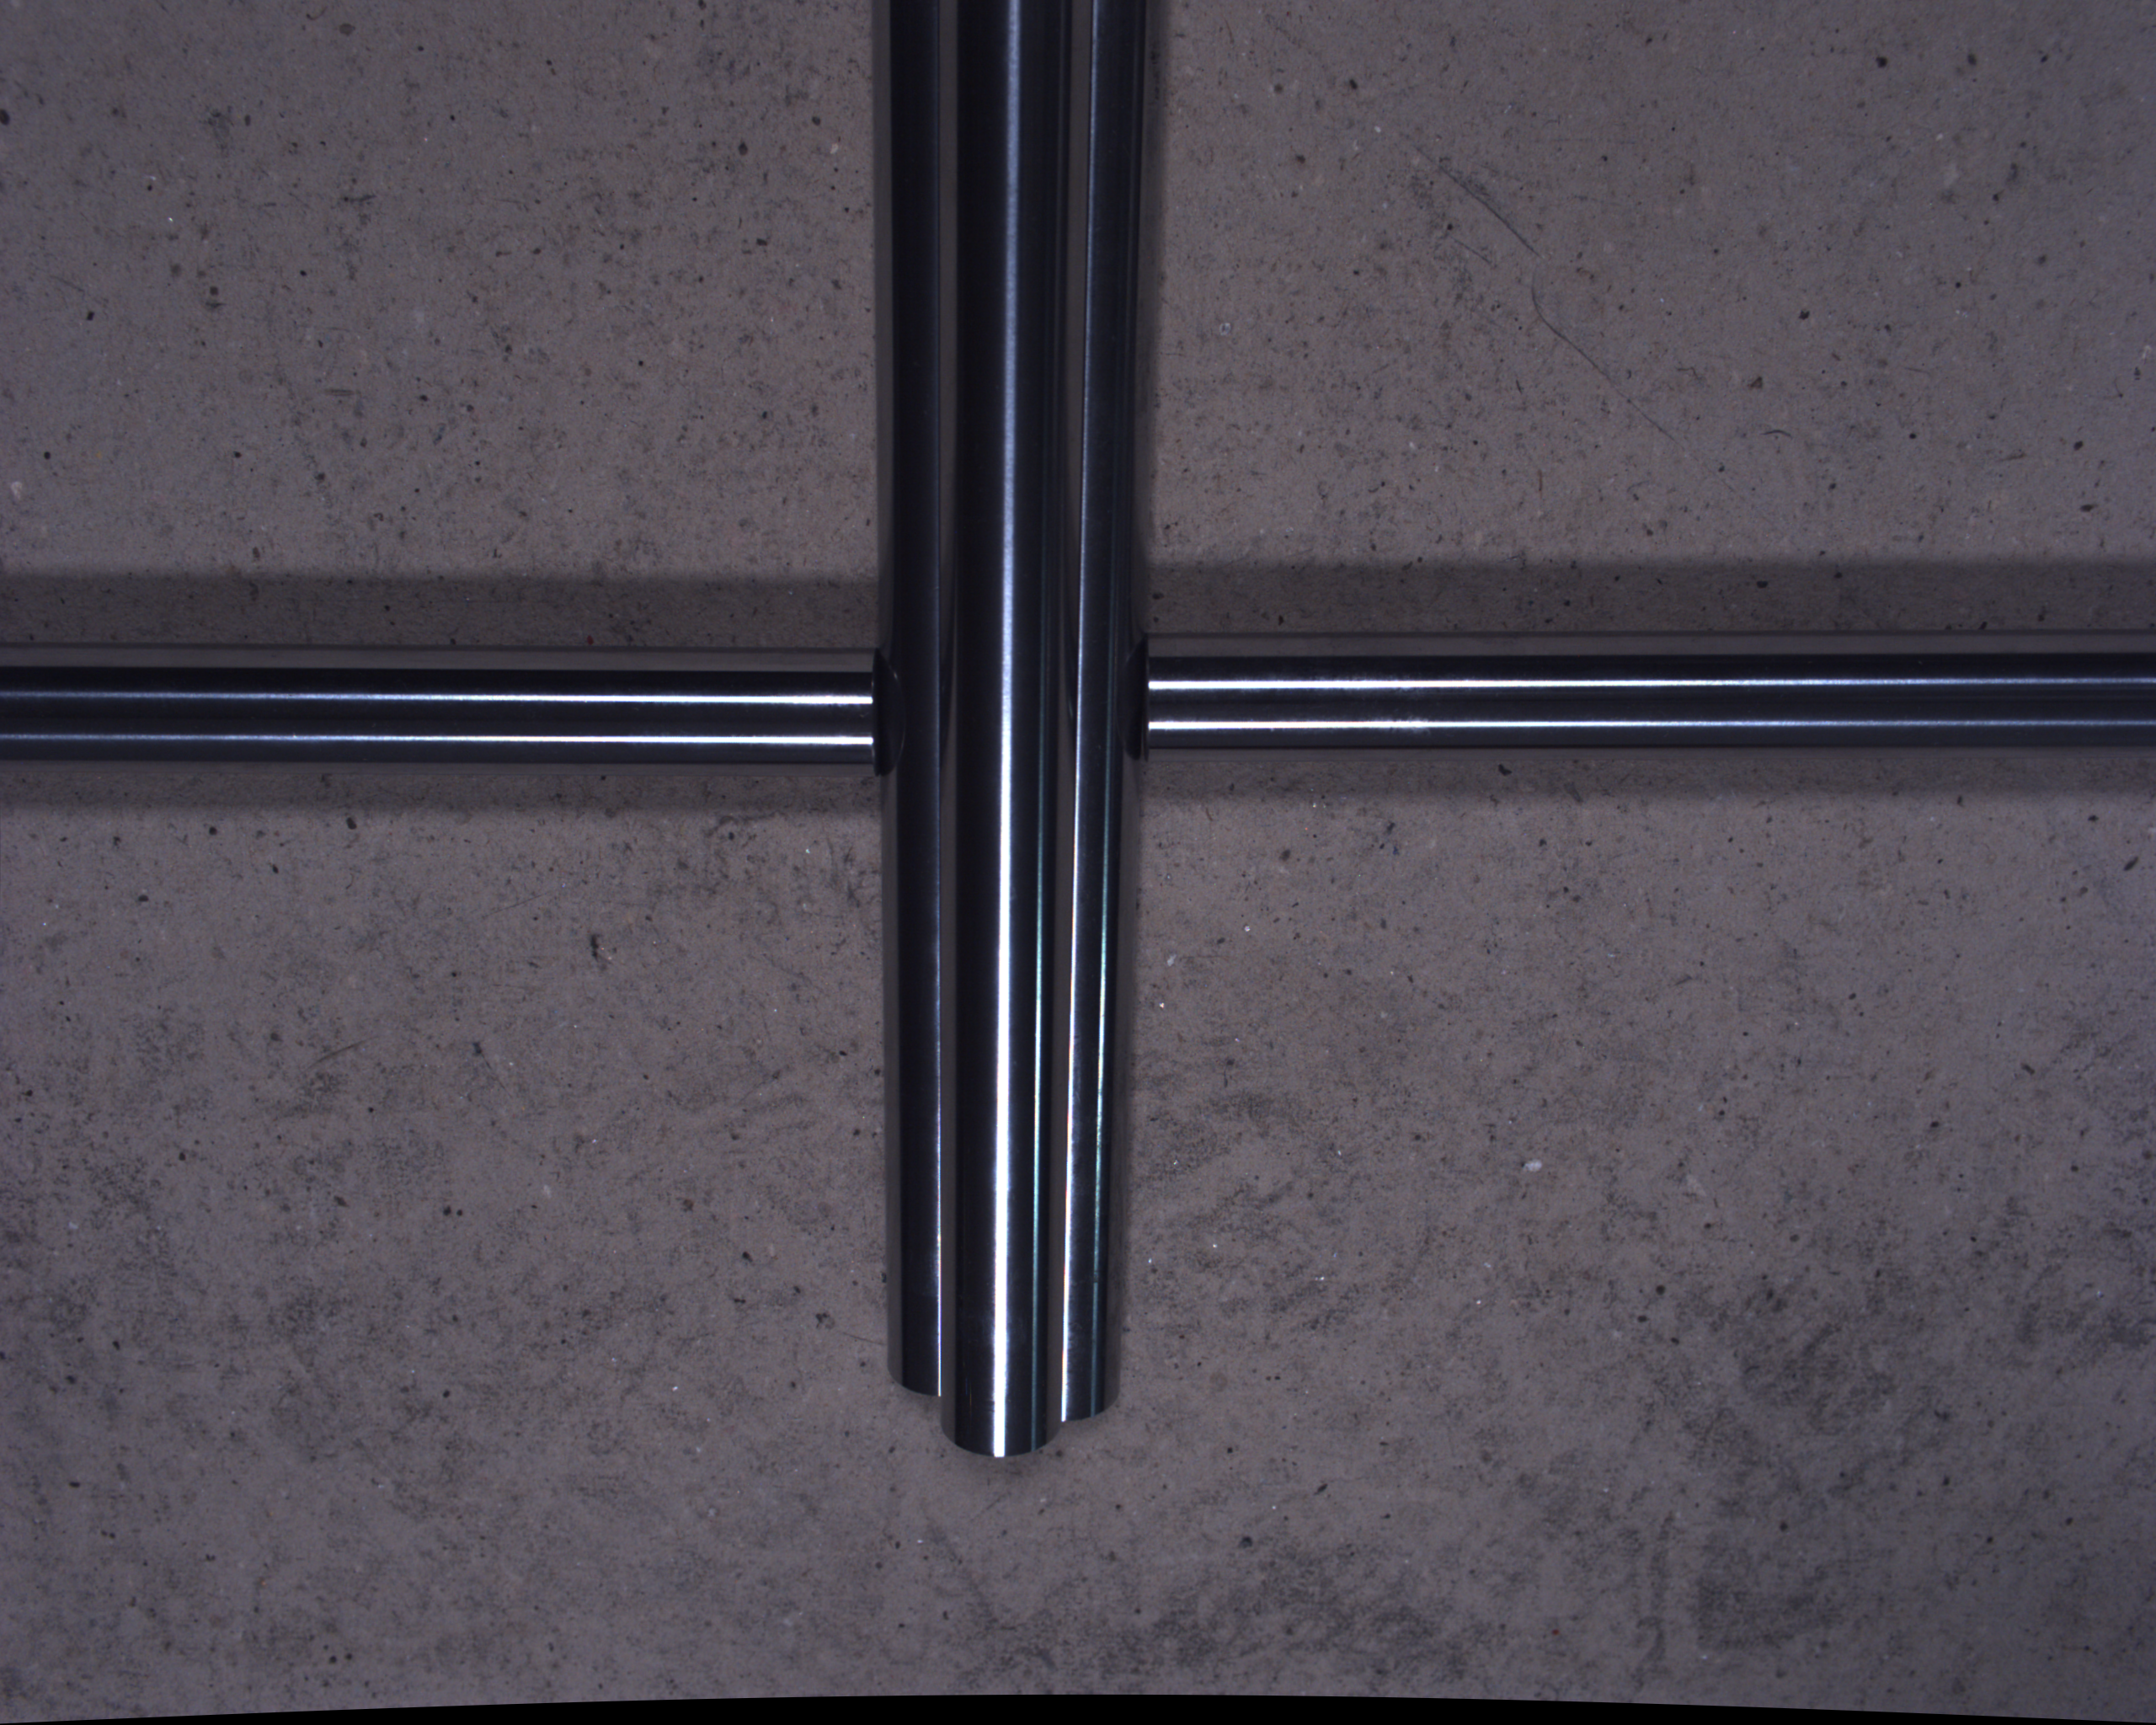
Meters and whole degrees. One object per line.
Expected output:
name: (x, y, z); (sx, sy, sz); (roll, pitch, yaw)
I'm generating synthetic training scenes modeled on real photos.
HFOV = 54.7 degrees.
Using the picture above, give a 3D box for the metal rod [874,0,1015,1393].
metal rod: (-0.025, -0.032, 0.400); (0.025, 0.025, 0.298); (1, 110, -1)

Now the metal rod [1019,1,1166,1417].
metal rod: (0.000, -0.026, 0.402); (0.025, 0.025, 0.298); (1, 110, -1)

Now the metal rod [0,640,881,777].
metal rod: (-0.189, -0.030, 0.397); (0.302, 0.025, 0.025); (0, 110, -1)

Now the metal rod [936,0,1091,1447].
metal rod: (-0.013, -0.026, 0.380); (0.025, 0.025, 0.298); (1, 110, -1)

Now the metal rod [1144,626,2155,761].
metal rod: (0.164, -0.033, 0.401); (0.302, 0.025, 0.025); (0, 110, -1)
